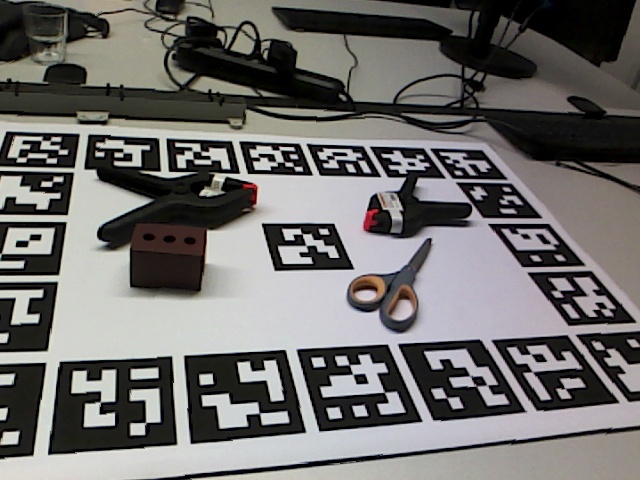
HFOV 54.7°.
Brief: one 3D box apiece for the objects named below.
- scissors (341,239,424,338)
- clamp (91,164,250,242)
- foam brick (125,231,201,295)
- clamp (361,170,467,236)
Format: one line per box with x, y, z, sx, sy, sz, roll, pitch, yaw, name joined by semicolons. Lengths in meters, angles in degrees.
0.095;0.045;0.771;0.088;0.016;0.202;29;37;11;scissors
-0.192;-0.053;0.813;0.202;0.036;0.166;-2;35;-20;clamp
-0.176;0.026;0.701;0.078;0.051;0.053;1;38;-7;foam brick
0.122;-0.046;0.898;0.164;0.036;0.122;-22;54;-37;clamp
